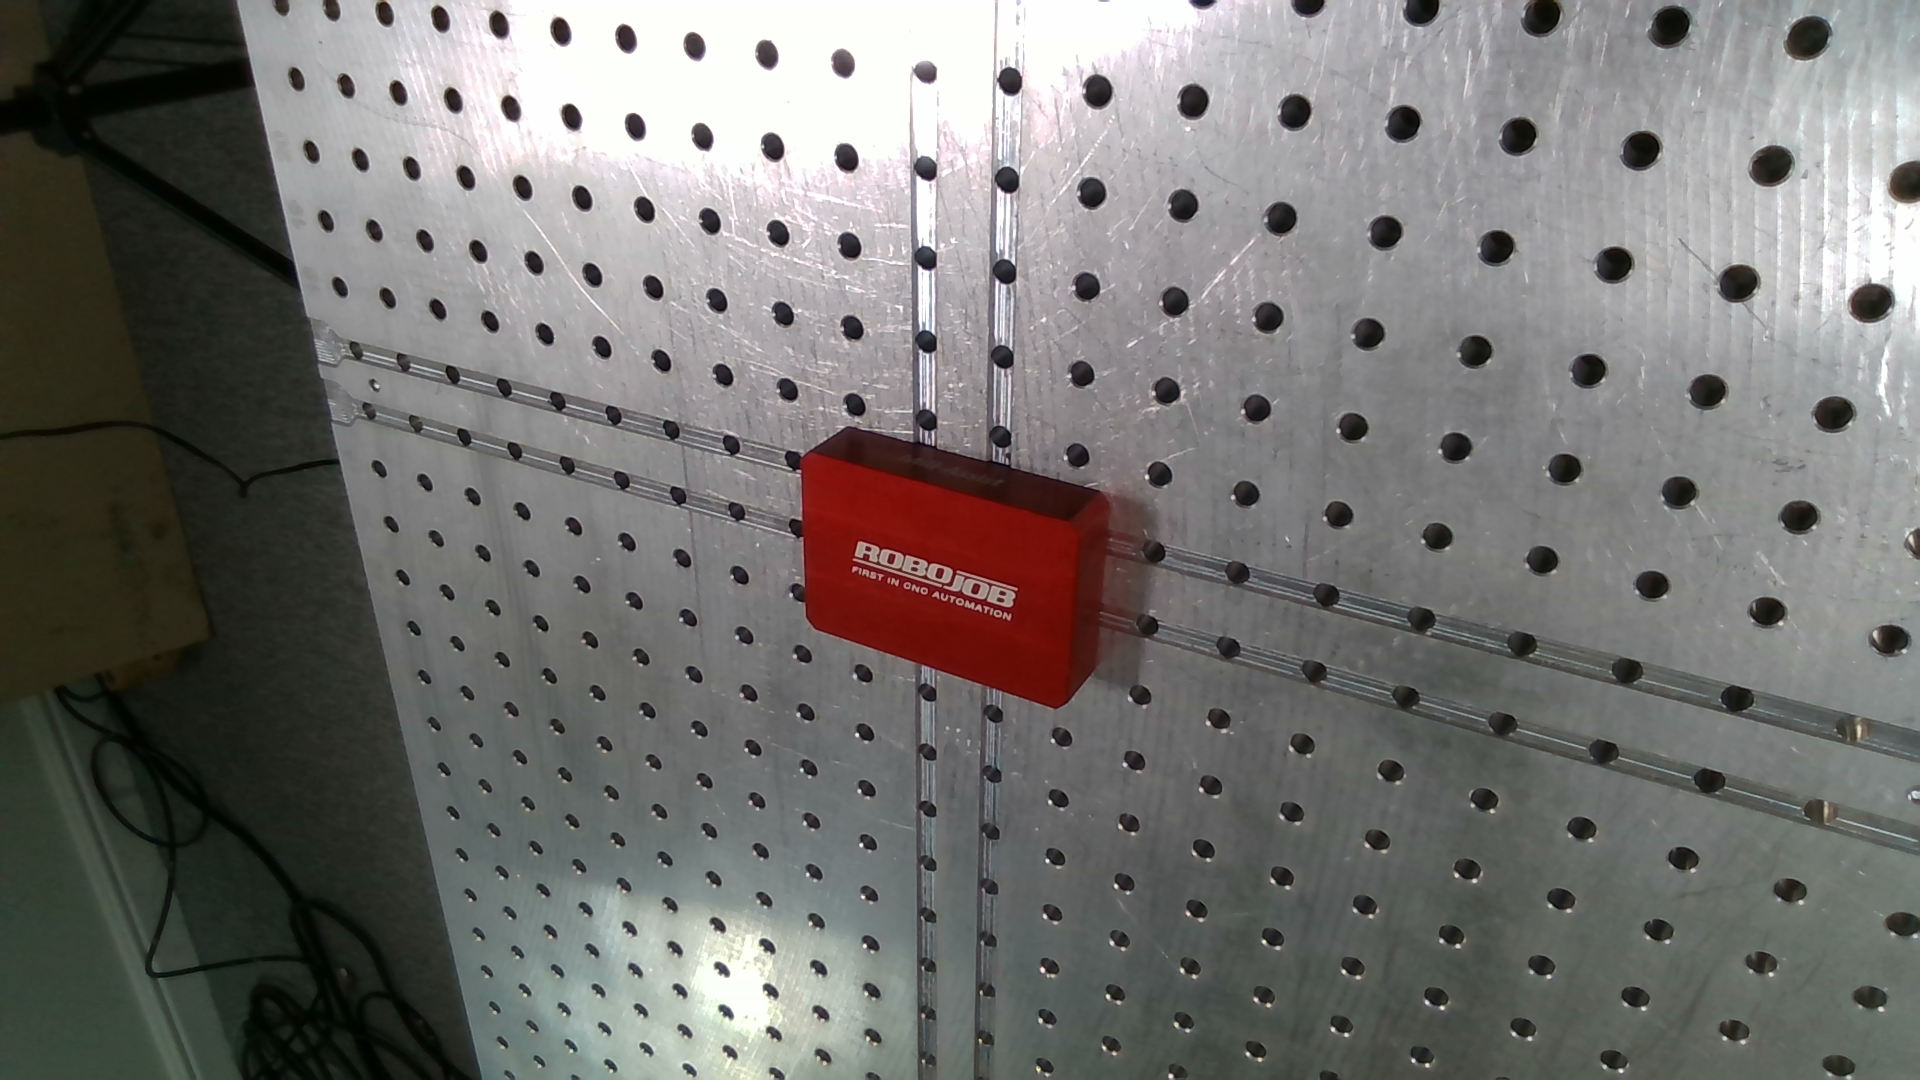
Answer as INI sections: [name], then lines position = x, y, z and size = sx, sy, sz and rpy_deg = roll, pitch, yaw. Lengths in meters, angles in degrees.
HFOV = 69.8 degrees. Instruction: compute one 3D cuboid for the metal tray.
[metal tray]
position = -0.005, 0.010, 0.587
size = 0.130, 0.030, 0.090
rpy_deg = 16, 123, 24
